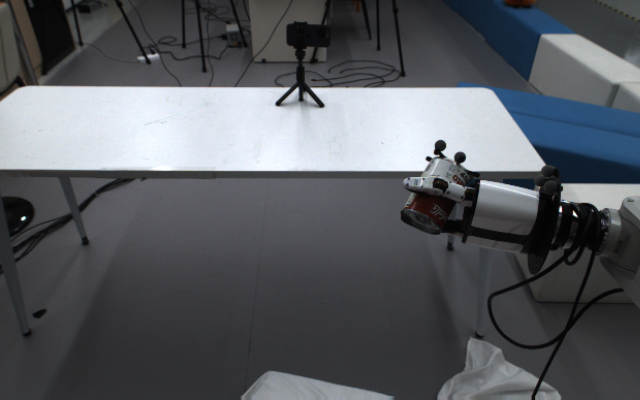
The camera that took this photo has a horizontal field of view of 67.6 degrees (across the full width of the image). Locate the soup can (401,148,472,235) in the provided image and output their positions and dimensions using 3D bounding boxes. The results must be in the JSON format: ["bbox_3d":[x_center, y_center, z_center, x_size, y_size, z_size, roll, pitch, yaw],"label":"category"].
[{"bbox_3d":[0.178,-0.008,0.740,0.067,0.067,0.101,23,72,28],"label":"soup can"}]
